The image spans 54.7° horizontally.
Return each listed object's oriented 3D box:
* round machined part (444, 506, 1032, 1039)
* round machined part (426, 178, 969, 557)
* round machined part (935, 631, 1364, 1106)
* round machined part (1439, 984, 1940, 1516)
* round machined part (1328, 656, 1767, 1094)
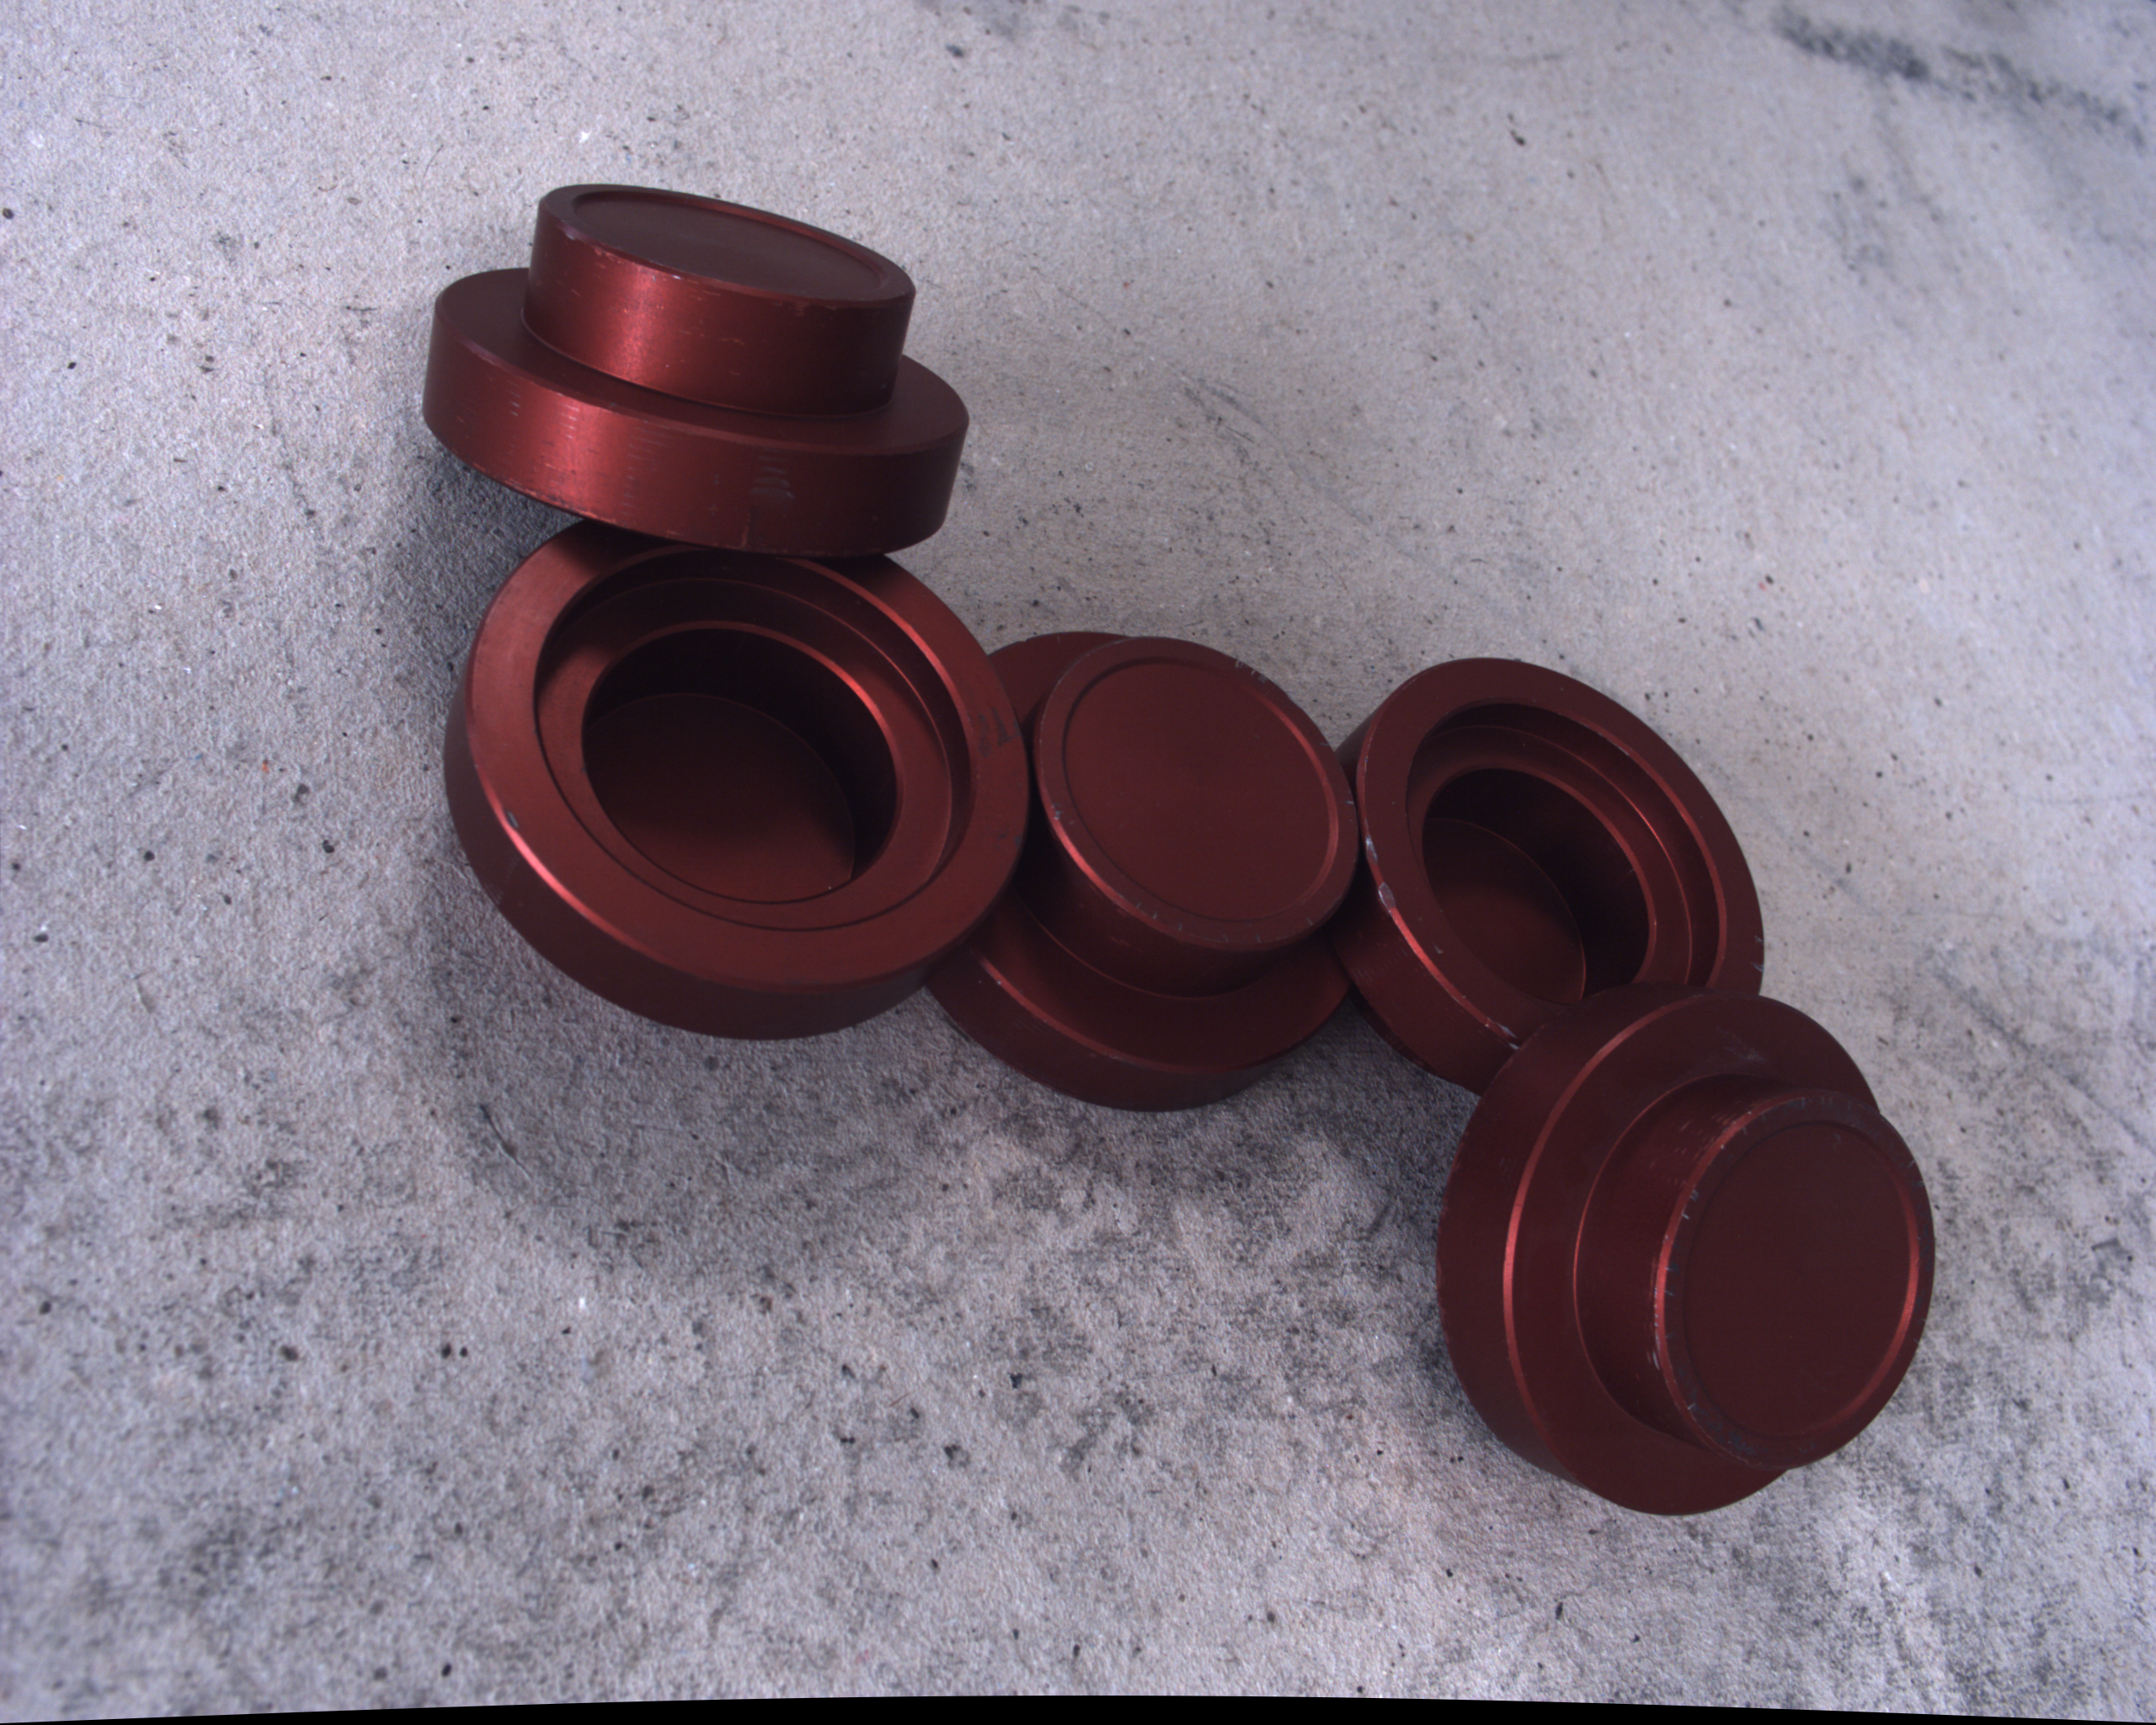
[{"bbox_3d":[-0.061,-0.013,0.369,0.099,0.042,0.098,13,57,-20],"label":"round machined part"},{"bbox_3d":[-0.068,-0.096,0.387,0.099,0.042,0.098,13,27,-7],"label":"round machined part"},{"bbox_3d":[0.015,-0.006,0.404,0.099,0.042,0.098,13,54,-19],"label":"round machined part"},{"bbox_3d":[0.119,0.072,0.385,0.099,0.042,0.097,-1,91,-28],"label":"round machined part"},{"bbox_3d":[0.091,0.009,0.437,0.099,0.042,0.098,13,57,-20],"label":"round machined part"}]
